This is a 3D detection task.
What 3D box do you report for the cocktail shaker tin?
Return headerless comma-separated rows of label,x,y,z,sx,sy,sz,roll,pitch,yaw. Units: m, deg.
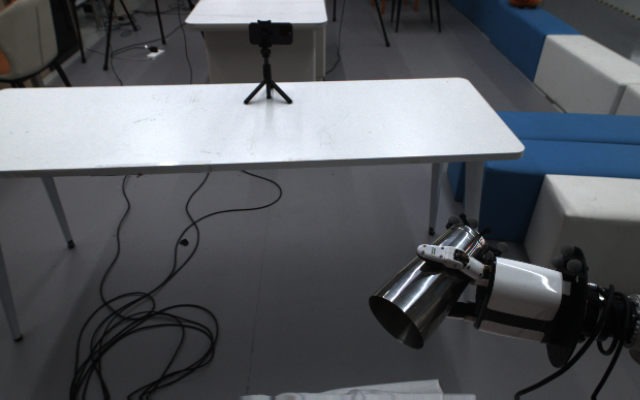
cocktail shaker tin,0.157,0.105,0.665,0.170,0.093,0.093,-38,49,-23
